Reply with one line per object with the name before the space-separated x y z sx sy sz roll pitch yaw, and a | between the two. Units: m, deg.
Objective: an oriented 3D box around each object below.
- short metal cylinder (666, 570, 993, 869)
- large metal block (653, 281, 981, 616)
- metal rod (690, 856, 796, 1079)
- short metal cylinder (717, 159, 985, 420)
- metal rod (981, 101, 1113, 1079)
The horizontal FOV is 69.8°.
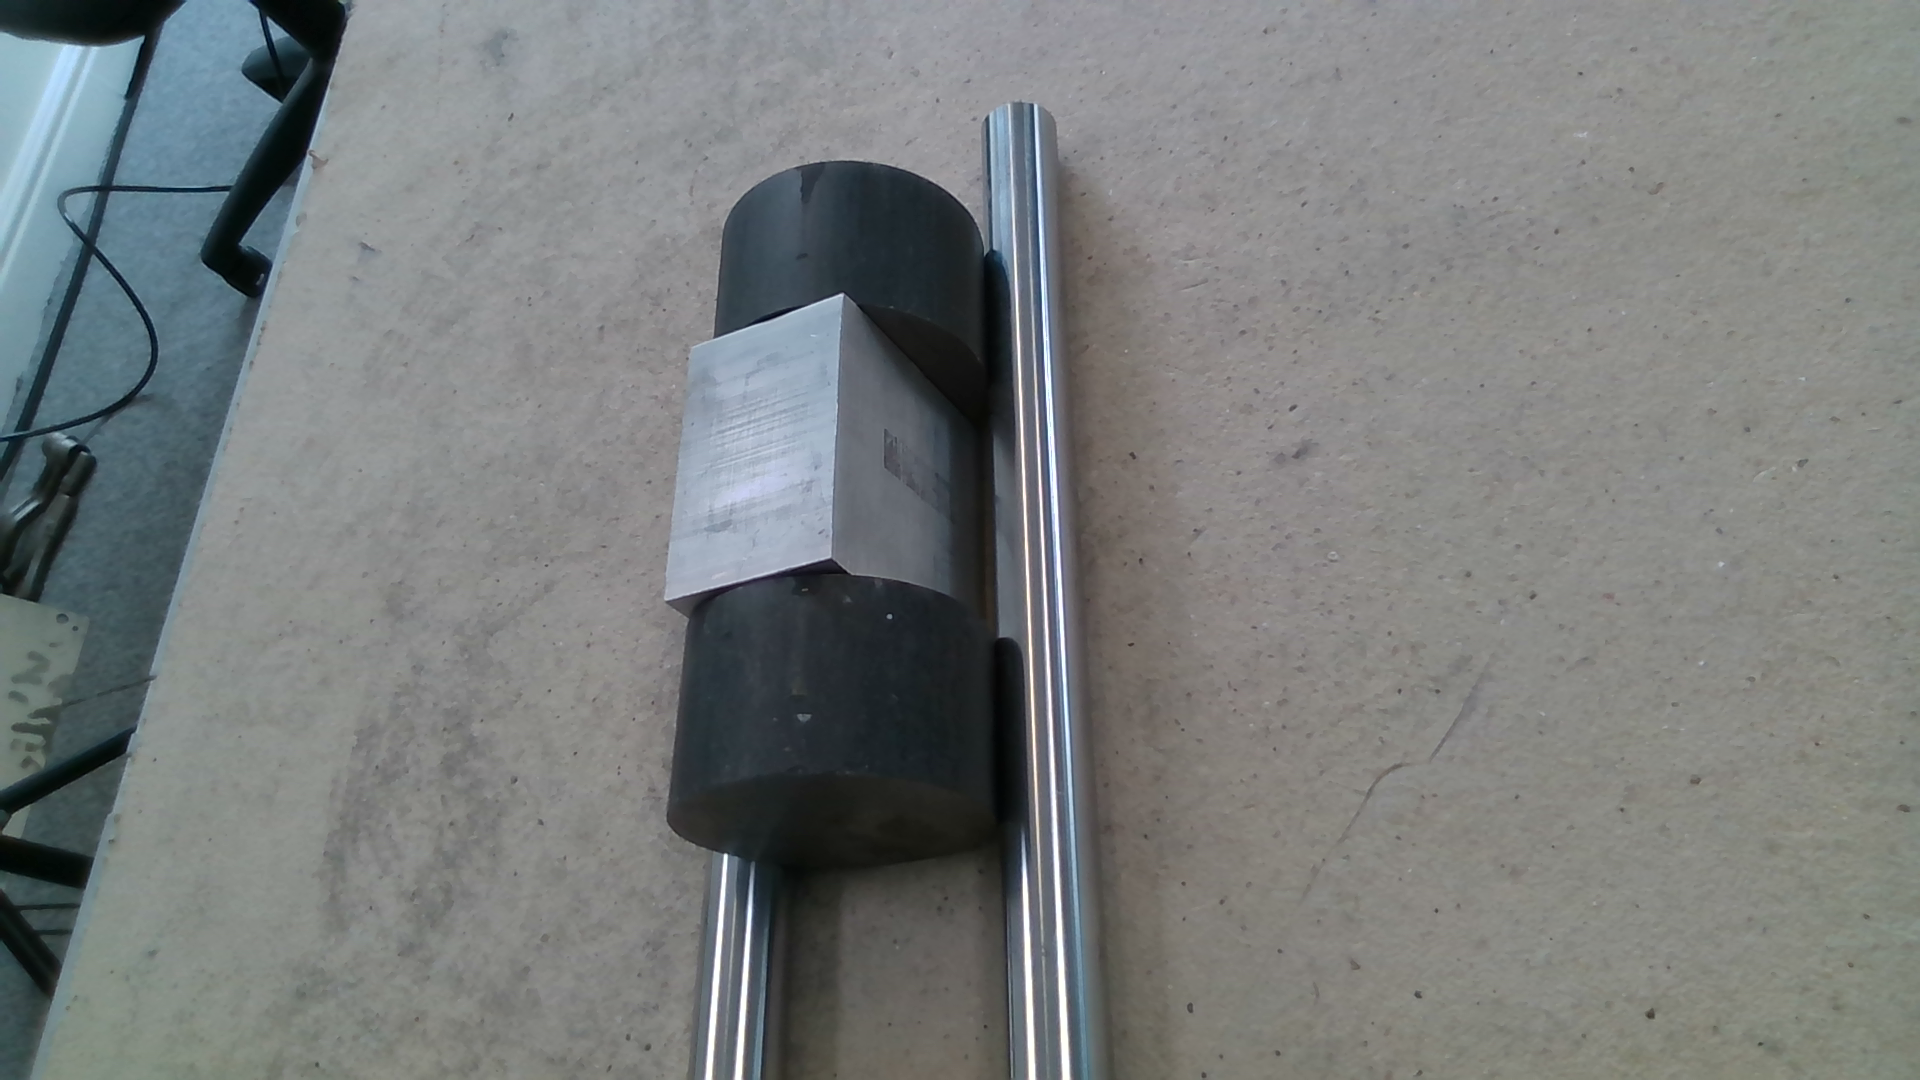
short metal cylinder | -0.032 0.048 0.351 0.080 0.080 0.050 -15 58 24
large metal block | -0.035 -0.010 0.381 0.050 0.080 0.080 -14 59 25
metal rod | -0.059 0.018 0.420 0.025 0.025 0.299 -15 59 25
short metal cylinder | -0.033 -0.067 0.413 0.080 0.080 0.050 -15 58 24
metal rod | 0.021 -0.003 0.382 0.025 0.025 0.299 -15 59 25
